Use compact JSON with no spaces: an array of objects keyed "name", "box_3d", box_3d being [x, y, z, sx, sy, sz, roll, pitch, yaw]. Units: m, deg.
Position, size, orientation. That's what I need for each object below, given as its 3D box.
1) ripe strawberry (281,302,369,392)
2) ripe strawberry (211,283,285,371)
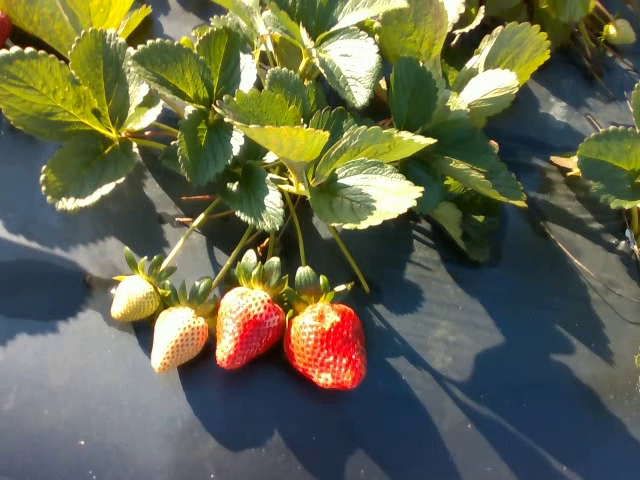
[{"name":"ripe strawberry","box_3d":[0.008,0.065,0.350,0.056,0.067,0.052,-34,-44,1]},{"name":"ripe strawberry","box_3d":[-0.044,0.051,0.349,0.050,0.061,0.043,40,-42,-11]}]
